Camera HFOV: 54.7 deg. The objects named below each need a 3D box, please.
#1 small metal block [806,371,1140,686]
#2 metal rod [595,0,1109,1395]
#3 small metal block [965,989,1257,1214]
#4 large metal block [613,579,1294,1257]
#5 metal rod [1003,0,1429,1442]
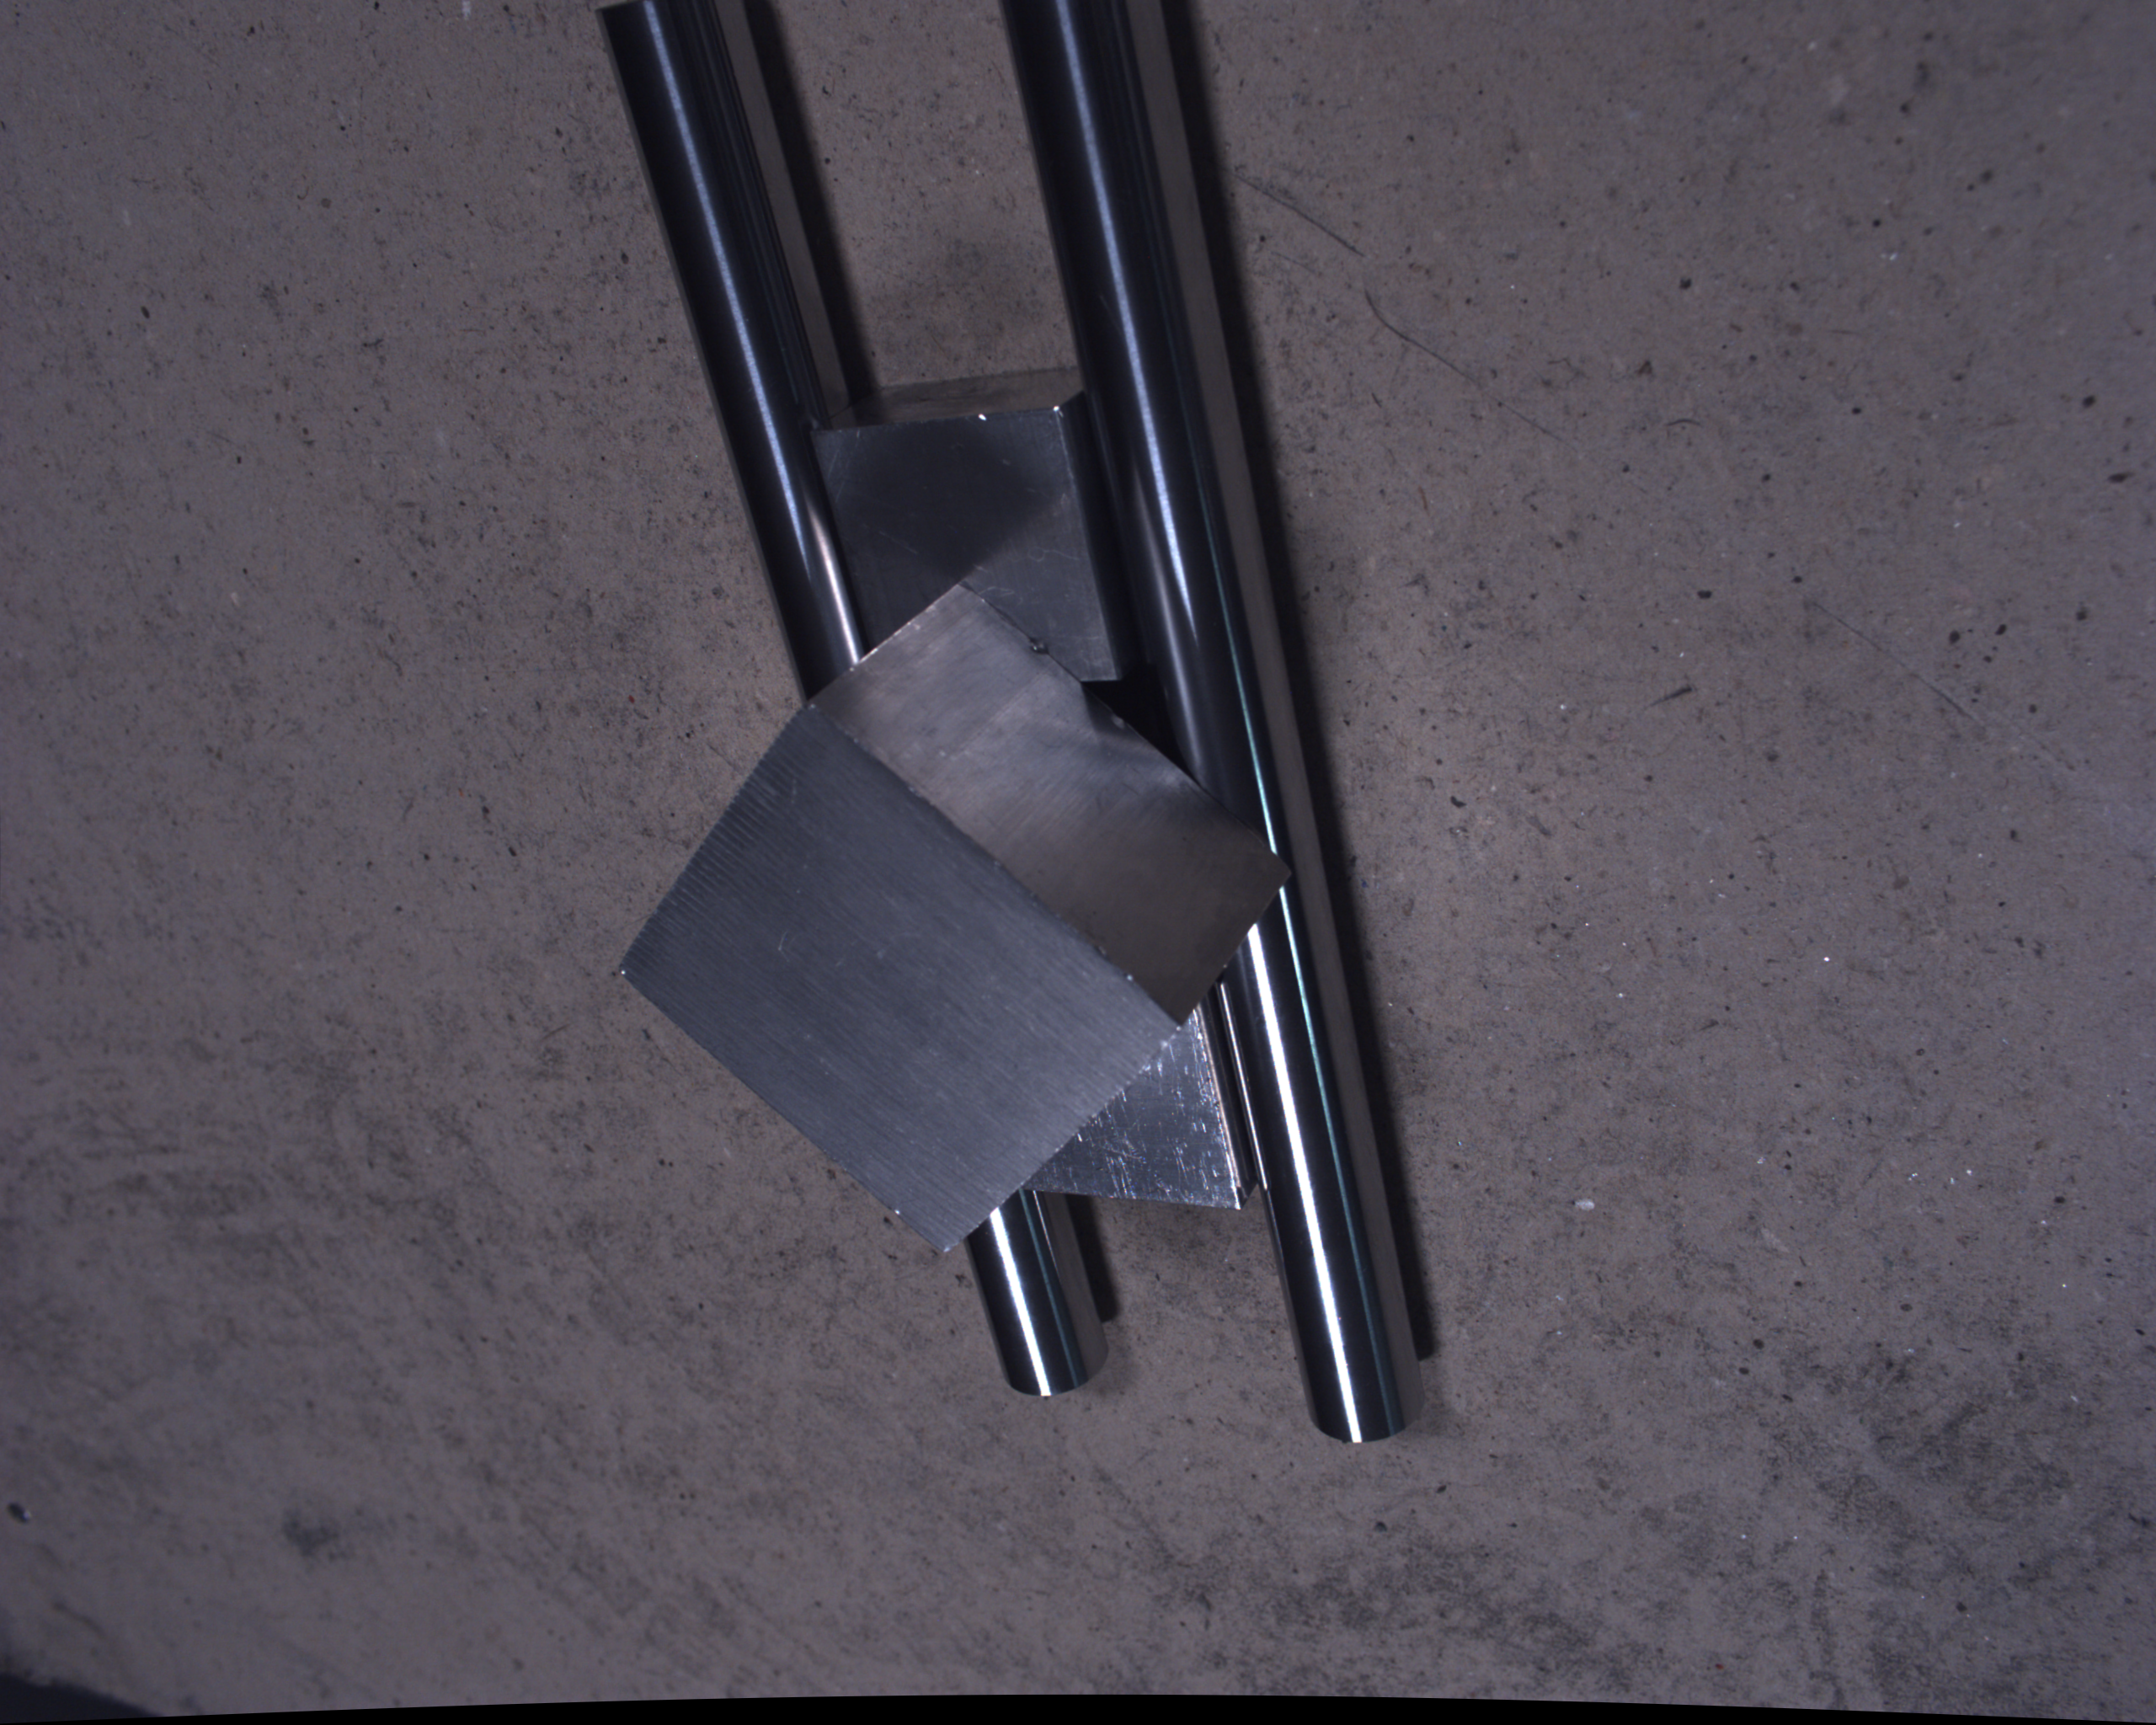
[{"bbox_3d":[-0.015,-0.059,0.377,0.050,0.025,0.050,1,119,27],"label":"small metal block"},{"bbox_3d":[-0.037,-0.016,0.417,0.025,0.025,0.298,0,119,27],"label":"metal rod"},{"bbox_3d":[0.010,0.042,0.427,0.050,0.025,0.050,1,119,27],"label":"small metal block"},{"bbox_3d":[-0.023,0.011,0.375,0.080,0.050,0.080,42,129,-1],"label":"large metal block"},{"bbox_3d":[0.030,-0.015,0.382,0.025,0.025,0.298,0,119,27],"label":"metal rod"}]
